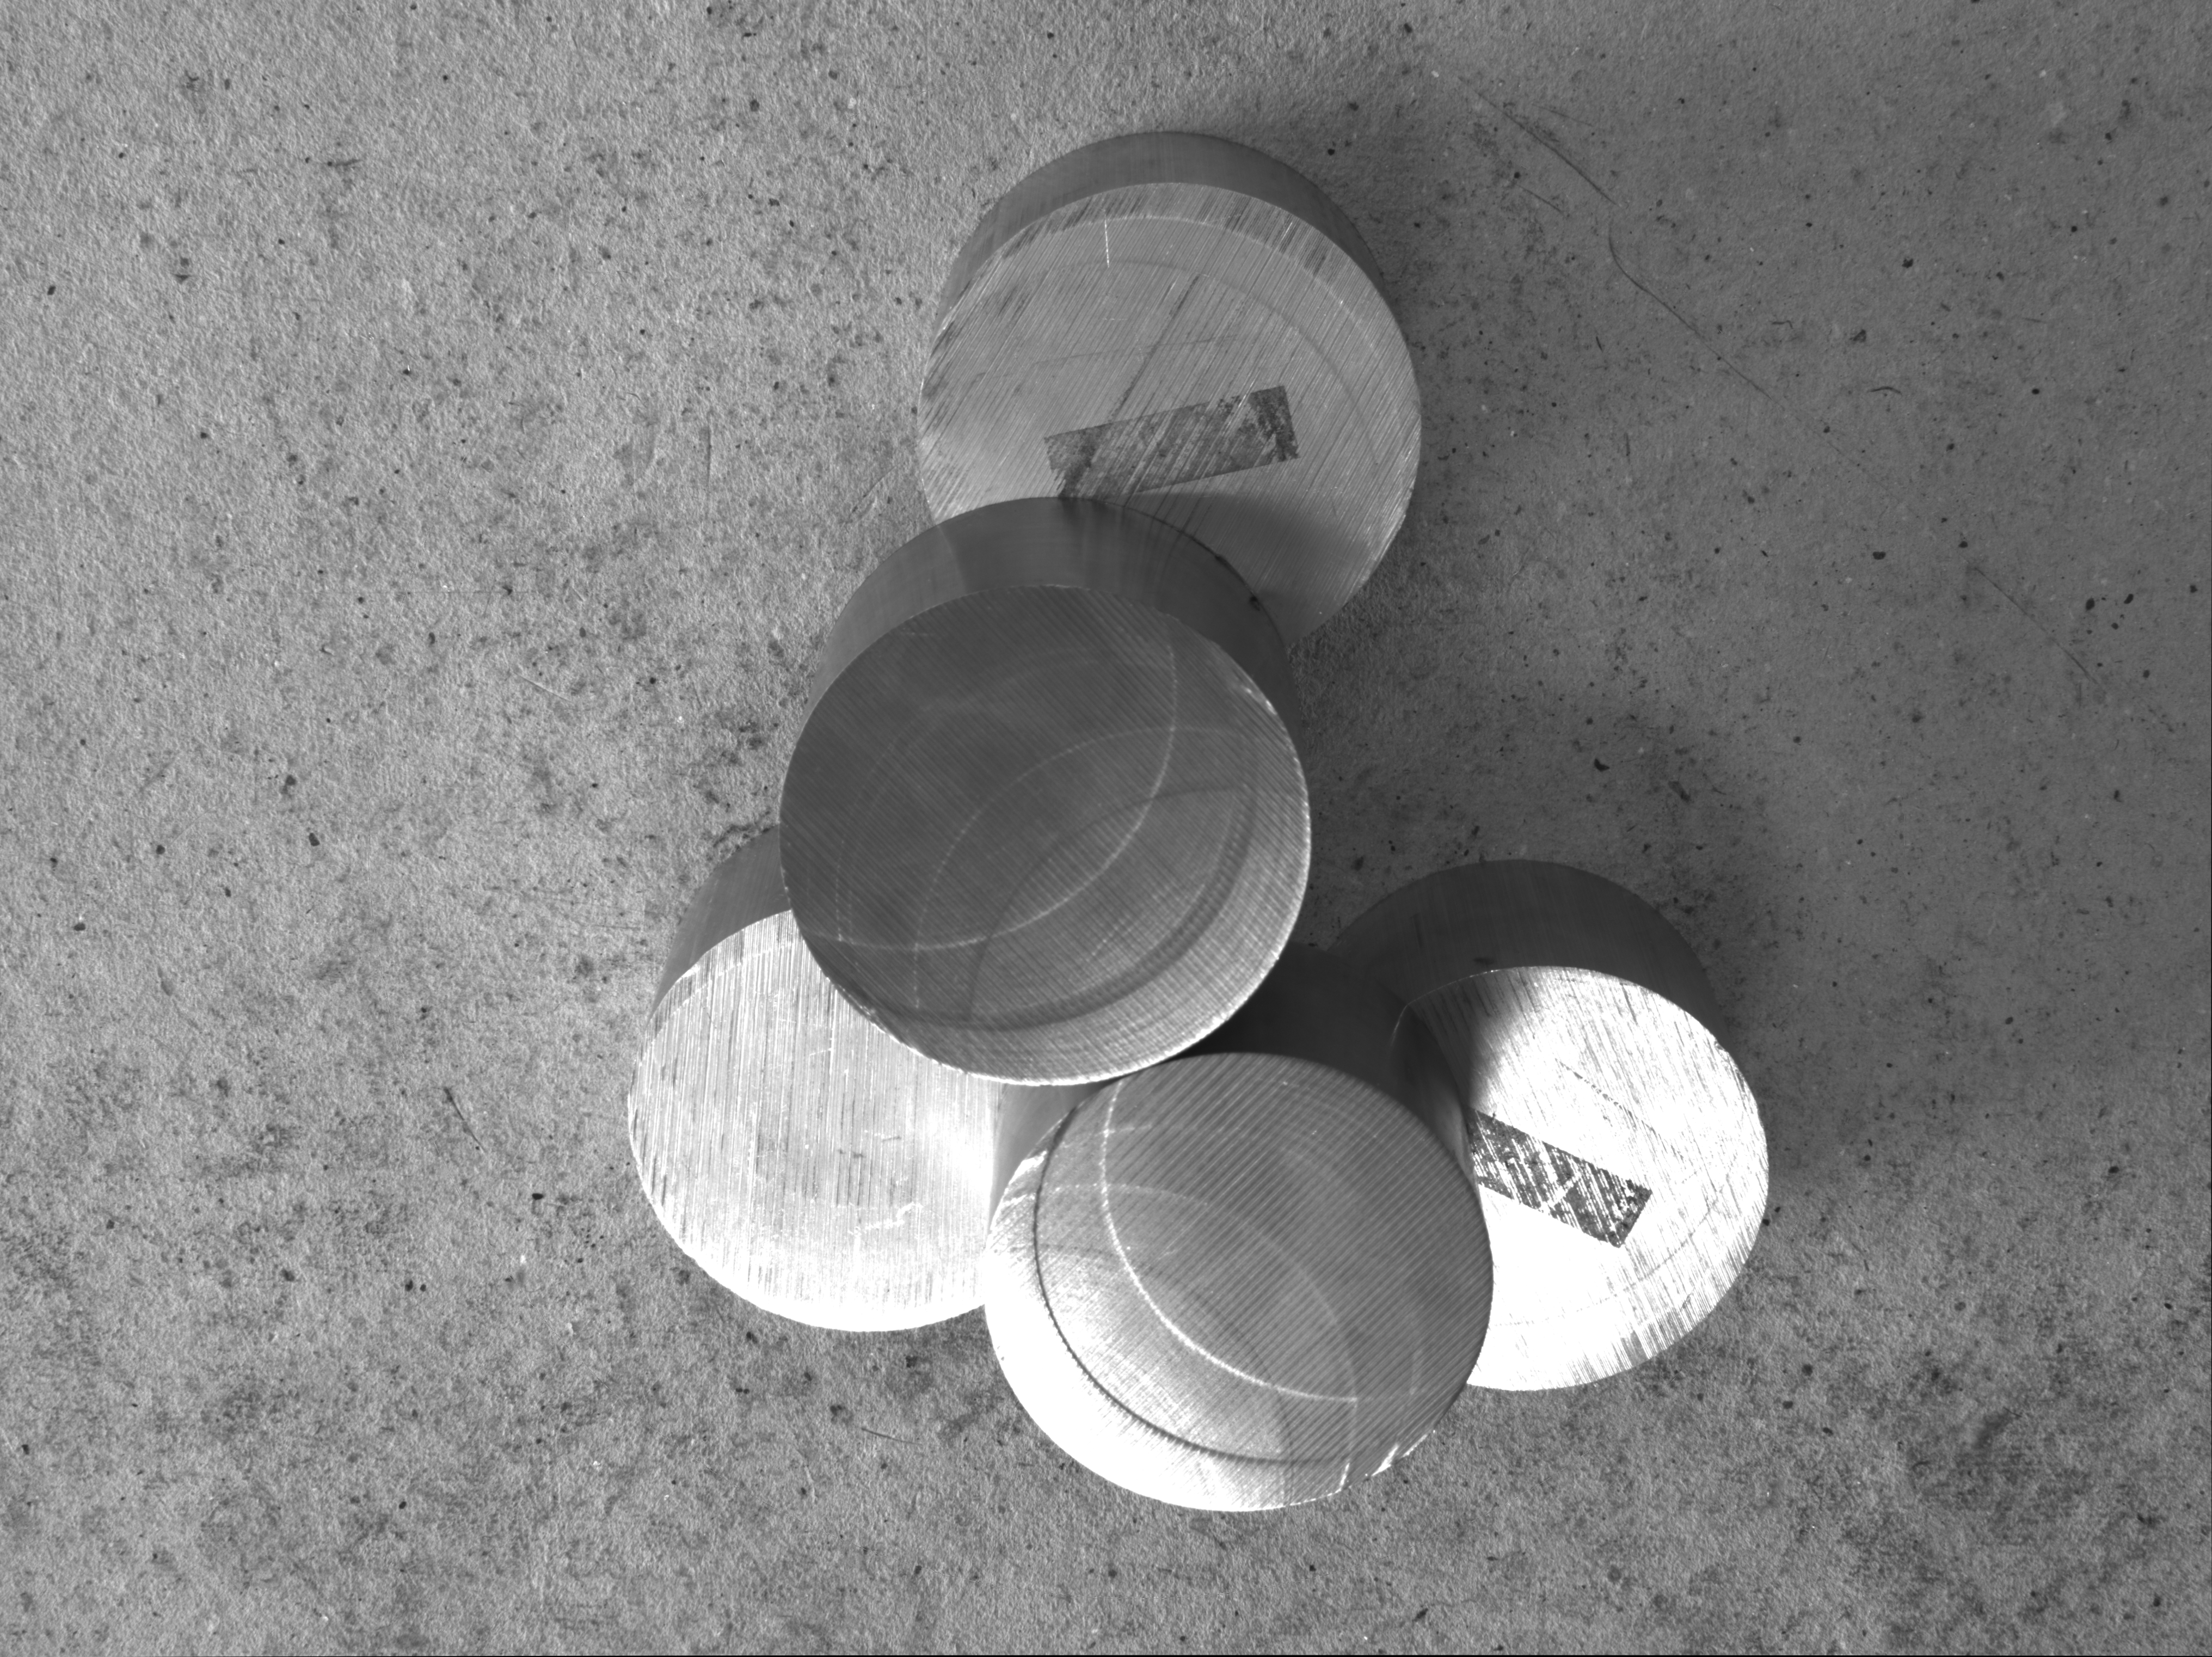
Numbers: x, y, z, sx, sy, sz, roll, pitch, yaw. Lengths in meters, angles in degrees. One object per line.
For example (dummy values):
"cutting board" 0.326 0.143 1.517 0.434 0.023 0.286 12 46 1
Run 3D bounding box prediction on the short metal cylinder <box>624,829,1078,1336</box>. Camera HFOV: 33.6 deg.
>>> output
"short metal cylinder" -0.041 0.042 0.645 0.080 0.050 0.080 0 110 0

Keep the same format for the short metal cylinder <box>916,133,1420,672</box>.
"short metal cylinder" 0.010 -0.071 0.605 0.080 0.050 0.080 0 110 0

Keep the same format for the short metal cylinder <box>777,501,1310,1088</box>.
"short metal cylinder" -0.009 -0.006 0.574 0.080 0.050 0.080 0 110 0

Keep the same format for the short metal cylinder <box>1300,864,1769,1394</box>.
"short metal cylinder" 0.073 0.053 0.649 0.080 0.050 0.080 0 110 0

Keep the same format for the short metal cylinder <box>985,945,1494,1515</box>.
"short metal cylinder" 0.021 0.064 0.600 0.080 0.050 0.080 0 110 0
